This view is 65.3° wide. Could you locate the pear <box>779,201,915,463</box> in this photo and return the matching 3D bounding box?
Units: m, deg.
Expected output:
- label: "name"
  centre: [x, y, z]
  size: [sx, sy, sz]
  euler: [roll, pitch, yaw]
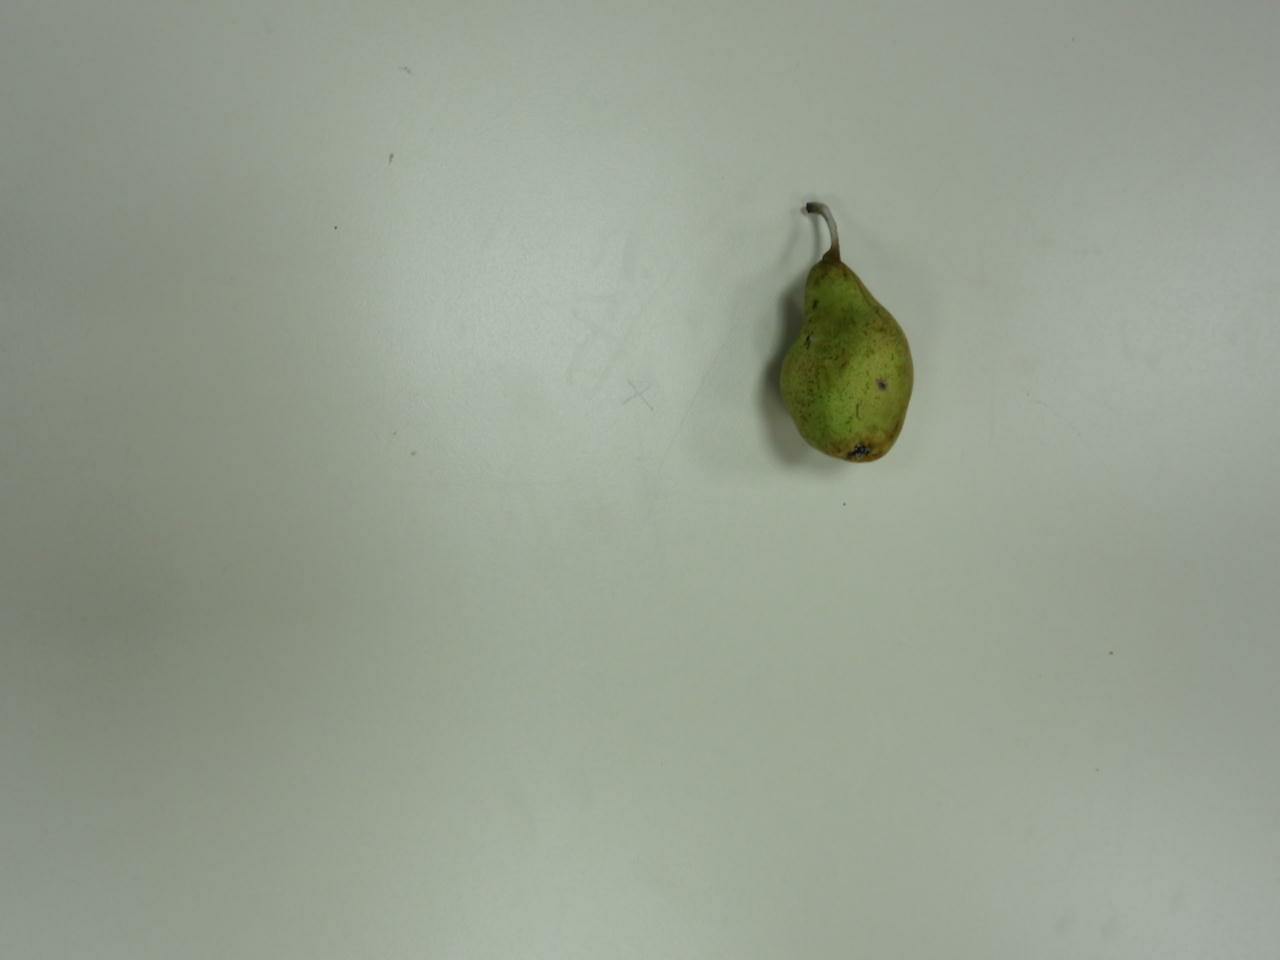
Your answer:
- label: "pear"
  centre: [0.092, -0.063, 0.424]
  size: [0.056, 0.056, 0.111]
  euler: [15, 87, -11]
